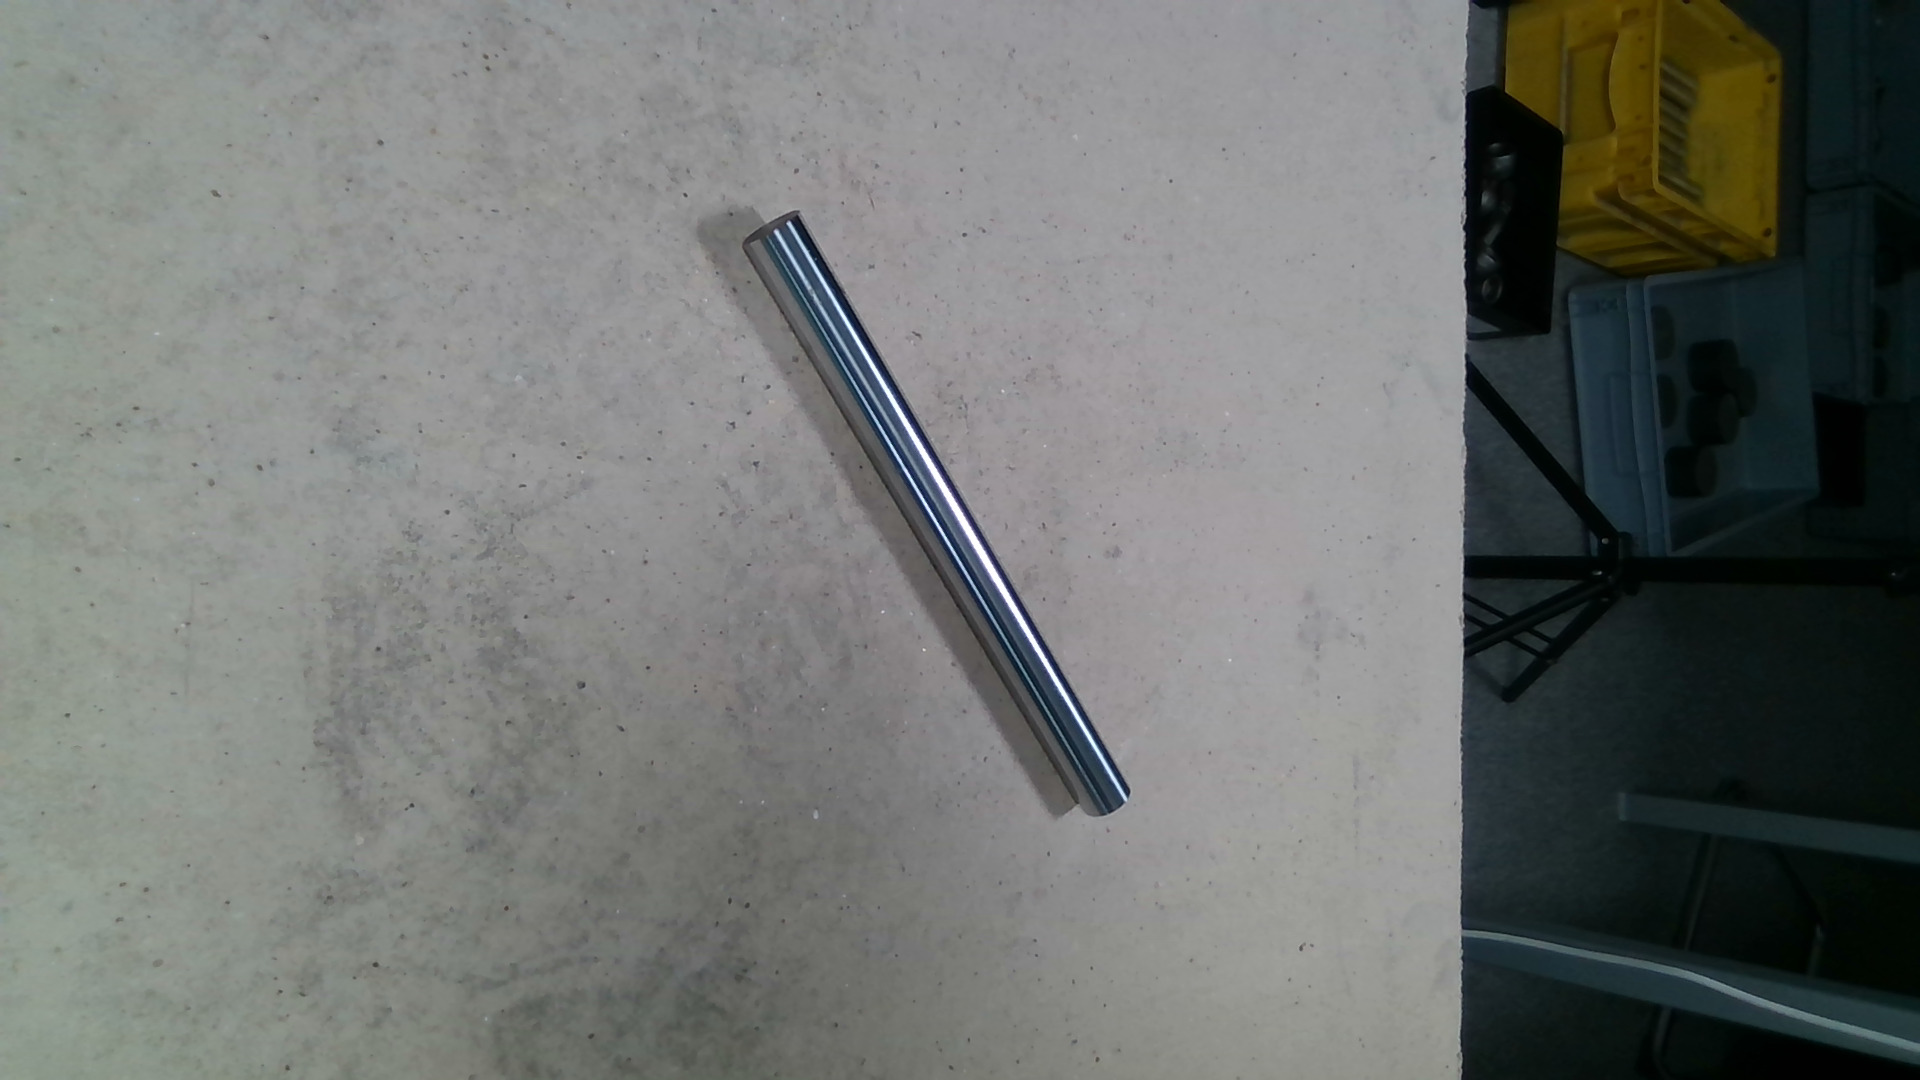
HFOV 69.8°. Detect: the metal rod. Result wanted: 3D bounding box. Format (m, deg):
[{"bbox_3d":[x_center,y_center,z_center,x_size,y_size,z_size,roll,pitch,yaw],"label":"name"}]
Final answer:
[{"bbox_3d":[-0.002,0.000,0.582,0.025,0.025,0.301,-45,117,-31],"label":"metal rod"}]
